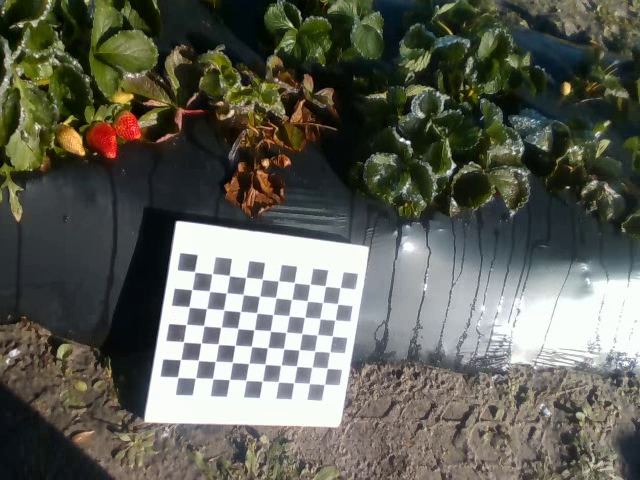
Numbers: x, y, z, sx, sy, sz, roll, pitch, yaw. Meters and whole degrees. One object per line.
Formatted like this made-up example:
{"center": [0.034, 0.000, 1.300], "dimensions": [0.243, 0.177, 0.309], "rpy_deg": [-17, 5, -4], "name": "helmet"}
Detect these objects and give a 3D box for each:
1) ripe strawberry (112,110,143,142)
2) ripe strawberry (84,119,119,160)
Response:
{"center": [-0.236, -0.139, 0.746], "dimensions": [0.041, 0.036, 0.030], "rpy_deg": [36, -7, -14], "name": "ripe strawberry"}
{"center": [-0.255, -0.113, 0.723], "dimensions": [0.036, 0.052, 0.040], "rpy_deg": [-32, -23, -15], "name": "ripe strawberry"}
